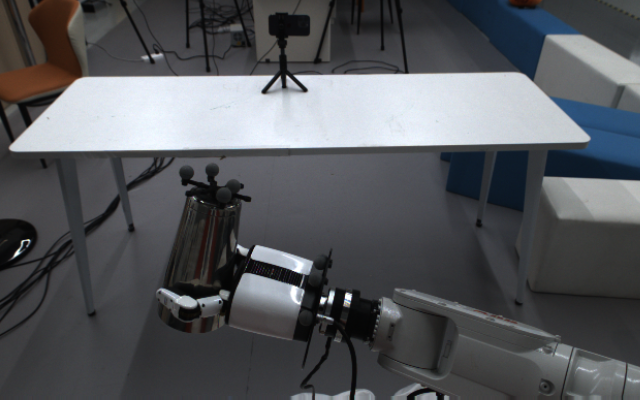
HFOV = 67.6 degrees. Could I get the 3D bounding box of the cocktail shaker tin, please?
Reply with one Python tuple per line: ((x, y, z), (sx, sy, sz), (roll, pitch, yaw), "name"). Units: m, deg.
((-0.148, 0.072, 0.617), (0.093, 0.170, 0.093), (13, 20, -5), "cocktail shaker tin")
